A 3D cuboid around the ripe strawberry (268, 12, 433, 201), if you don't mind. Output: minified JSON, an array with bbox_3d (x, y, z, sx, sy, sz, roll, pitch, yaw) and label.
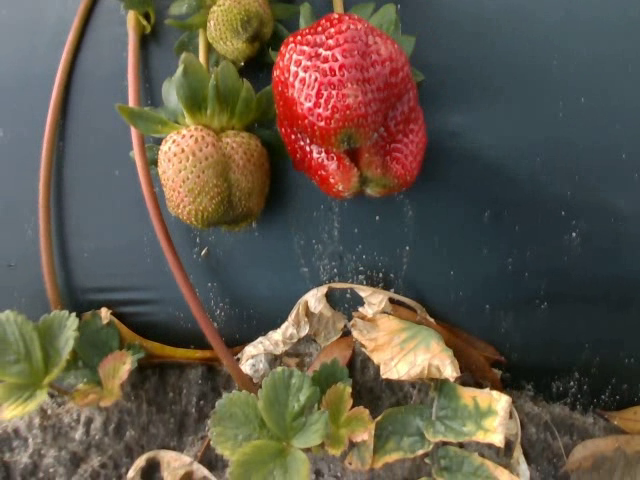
[{"bbox_3d":[0.006,-0.042,0.183,0.066,0.075,0.053,-16,5,6],"label":"ripe strawberry"}]
